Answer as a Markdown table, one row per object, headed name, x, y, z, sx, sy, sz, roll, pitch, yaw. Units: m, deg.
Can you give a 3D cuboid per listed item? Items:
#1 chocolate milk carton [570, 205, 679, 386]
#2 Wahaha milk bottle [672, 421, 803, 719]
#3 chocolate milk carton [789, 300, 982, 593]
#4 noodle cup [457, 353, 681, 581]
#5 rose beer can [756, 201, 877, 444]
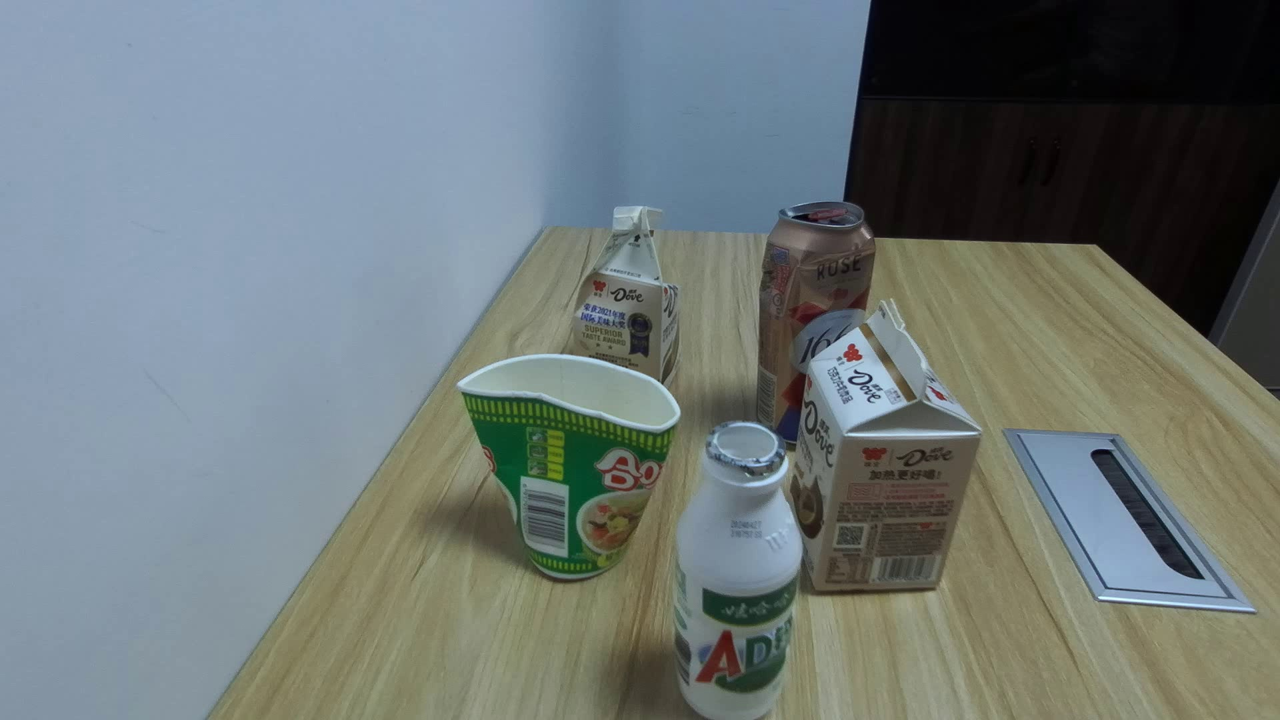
| name | x | y | z | sx | sy | sz | roll | pitch | yaw |
| --- | --- | --- | --- | --- | --- | --- | --- | --- | --- |
| chocolate milk carton | -0.007 | -0.051 | 0.552 | 0.073 | 0.155 | 0.076 | 9 | 30 | 13 |
| Wahaha milk bottle | 0.046 | 0.106 | 0.332 | 0.056 | 0.147 | 0.056 | -1 | 15 | 1 |
| chocolate milk carton | 0.132 | 0.047 | 0.387 | 0.074 | 0.148 | 0.075 | -1 | 29 | -1 |
| noodle cup | -0.036 | 0.062 | 0.403 | 0.114 | 0.111 | 0.070 | 24 | 41 | 36 |
| rose beer can | 0.119 | -0.022 | 0.491 | 0.076 | 0.167 | 0.065 | -11 | 29 | -11 |
